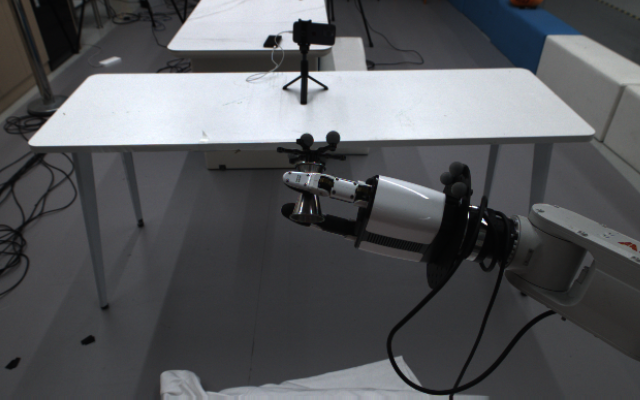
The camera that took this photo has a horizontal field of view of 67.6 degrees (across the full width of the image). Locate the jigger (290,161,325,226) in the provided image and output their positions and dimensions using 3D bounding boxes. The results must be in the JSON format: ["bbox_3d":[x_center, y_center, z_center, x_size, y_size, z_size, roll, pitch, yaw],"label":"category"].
[{"bbox_3d":[-0.015,-0.010,0.606,0.043,0.043,0.071,3,75,2],"label":"jigger"}]
